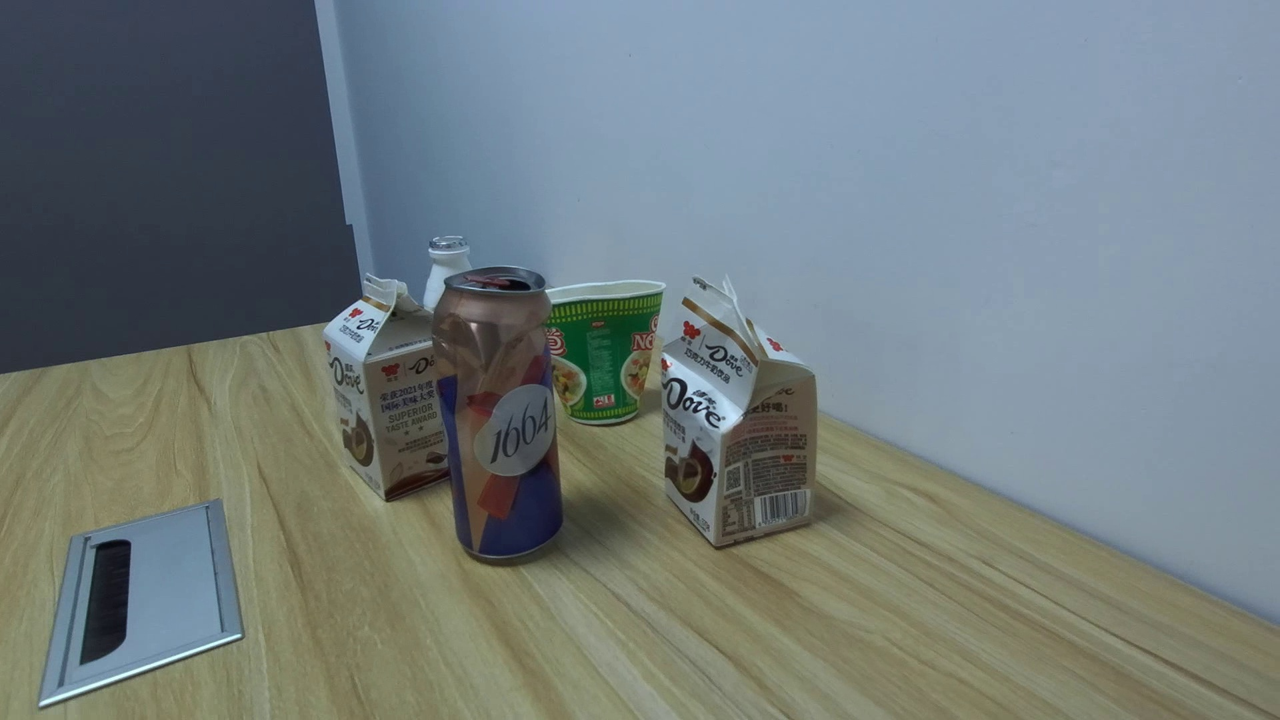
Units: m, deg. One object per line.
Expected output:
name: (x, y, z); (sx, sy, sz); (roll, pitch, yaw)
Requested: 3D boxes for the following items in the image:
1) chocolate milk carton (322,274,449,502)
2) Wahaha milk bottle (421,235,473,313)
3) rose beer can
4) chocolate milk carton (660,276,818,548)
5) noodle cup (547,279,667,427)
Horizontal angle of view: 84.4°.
chocolate milk carton: (-0.169, 0.011, 0.500); (0.074, 0.148, 0.075); (-19, 29, -36)
Wahaha milk bottle: (-0.162, -0.037, 0.628); (0.056, 0.148, 0.056); (0, 23, 0)
rose beer can: (-0.080, 0.034, 0.416); (0.065, 0.167, 0.076); (15, 23, 31)
chocolate milk carton: (0.060, 0.026, 0.438); (0.074, 0.155, 0.076); (-11, 24, -20)
noodle cup: (-0.035, -0.008, 0.598); (0.115, 0.111, 0.070); (0, 21, 3)
